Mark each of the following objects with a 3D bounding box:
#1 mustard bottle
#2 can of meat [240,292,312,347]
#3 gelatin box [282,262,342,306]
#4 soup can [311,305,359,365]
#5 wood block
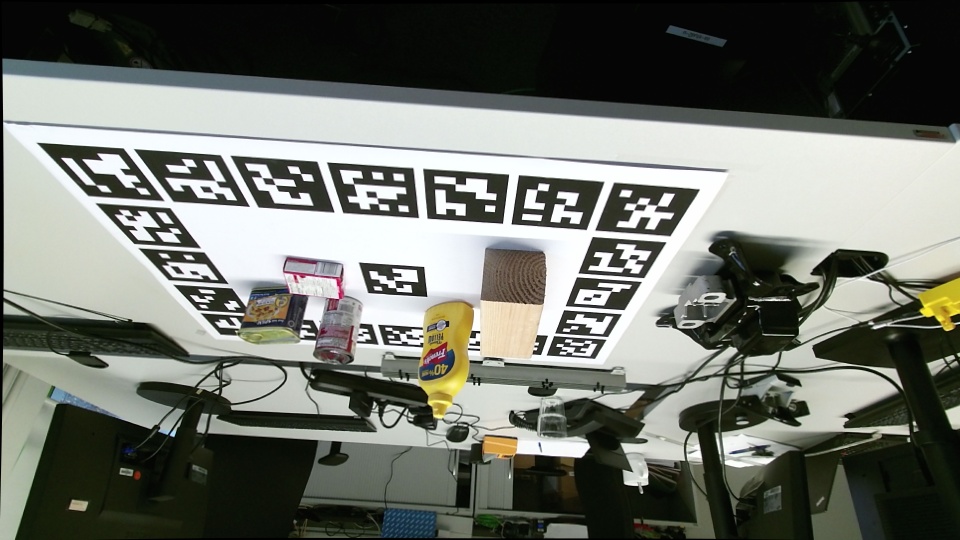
[{"bbox_3d":[-0.059,0.155,0.908,0.096,0.190,0.058,-10,146,22],"label":"mustard bottle"},{"bbox_3d":[-0.348,0.087,0.921,0.102,0.083,0.058,-2,146,13],"label":"can of meat"},{"bbox_3d":[-0.266,0.023,0.853,0.090,0.030,0.073,7,145,-10],"label":"gelatin box"},{"bbox_3d":[-0.252,0.120,0.930,0.068,0.101,0.068,2,146,1],"label":"soup can"},{"bbox_3d":[0.046,0.067,0.844,0.091,0.089,0.206,5,151,0],"label":"wood block"}]
